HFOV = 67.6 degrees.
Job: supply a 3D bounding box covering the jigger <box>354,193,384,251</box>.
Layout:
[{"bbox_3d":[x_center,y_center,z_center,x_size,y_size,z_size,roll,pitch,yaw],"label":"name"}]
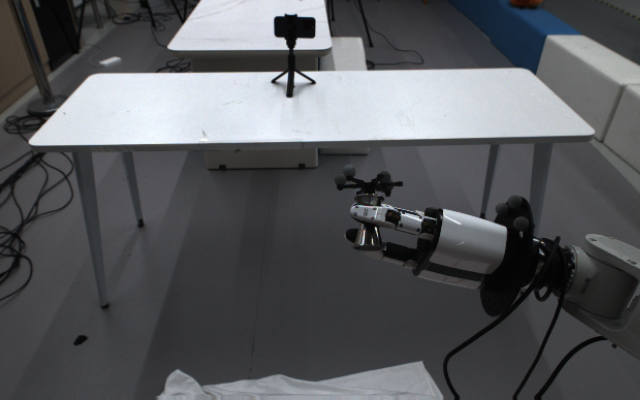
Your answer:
[{"bbox_3d":[0.063,0.029,0.632,0.043,0.043,0.071,3,76,1],"label":"jigger"}]
